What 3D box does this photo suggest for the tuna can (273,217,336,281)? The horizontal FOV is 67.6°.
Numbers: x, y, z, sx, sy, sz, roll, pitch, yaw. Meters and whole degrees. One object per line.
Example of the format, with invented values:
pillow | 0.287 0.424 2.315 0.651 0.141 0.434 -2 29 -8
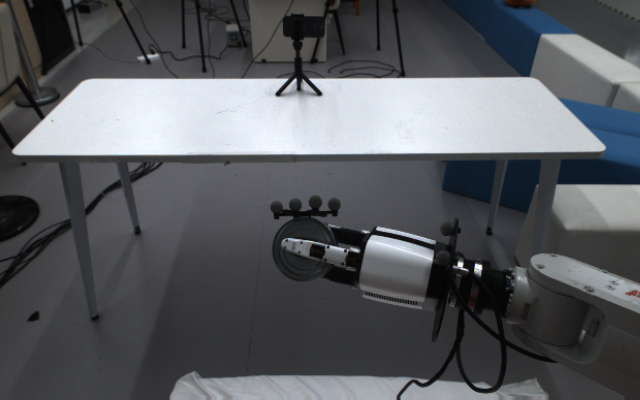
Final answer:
tuna can | -0.016 0.070 0.645 0.085 0.085 0.034 10 -6 11
